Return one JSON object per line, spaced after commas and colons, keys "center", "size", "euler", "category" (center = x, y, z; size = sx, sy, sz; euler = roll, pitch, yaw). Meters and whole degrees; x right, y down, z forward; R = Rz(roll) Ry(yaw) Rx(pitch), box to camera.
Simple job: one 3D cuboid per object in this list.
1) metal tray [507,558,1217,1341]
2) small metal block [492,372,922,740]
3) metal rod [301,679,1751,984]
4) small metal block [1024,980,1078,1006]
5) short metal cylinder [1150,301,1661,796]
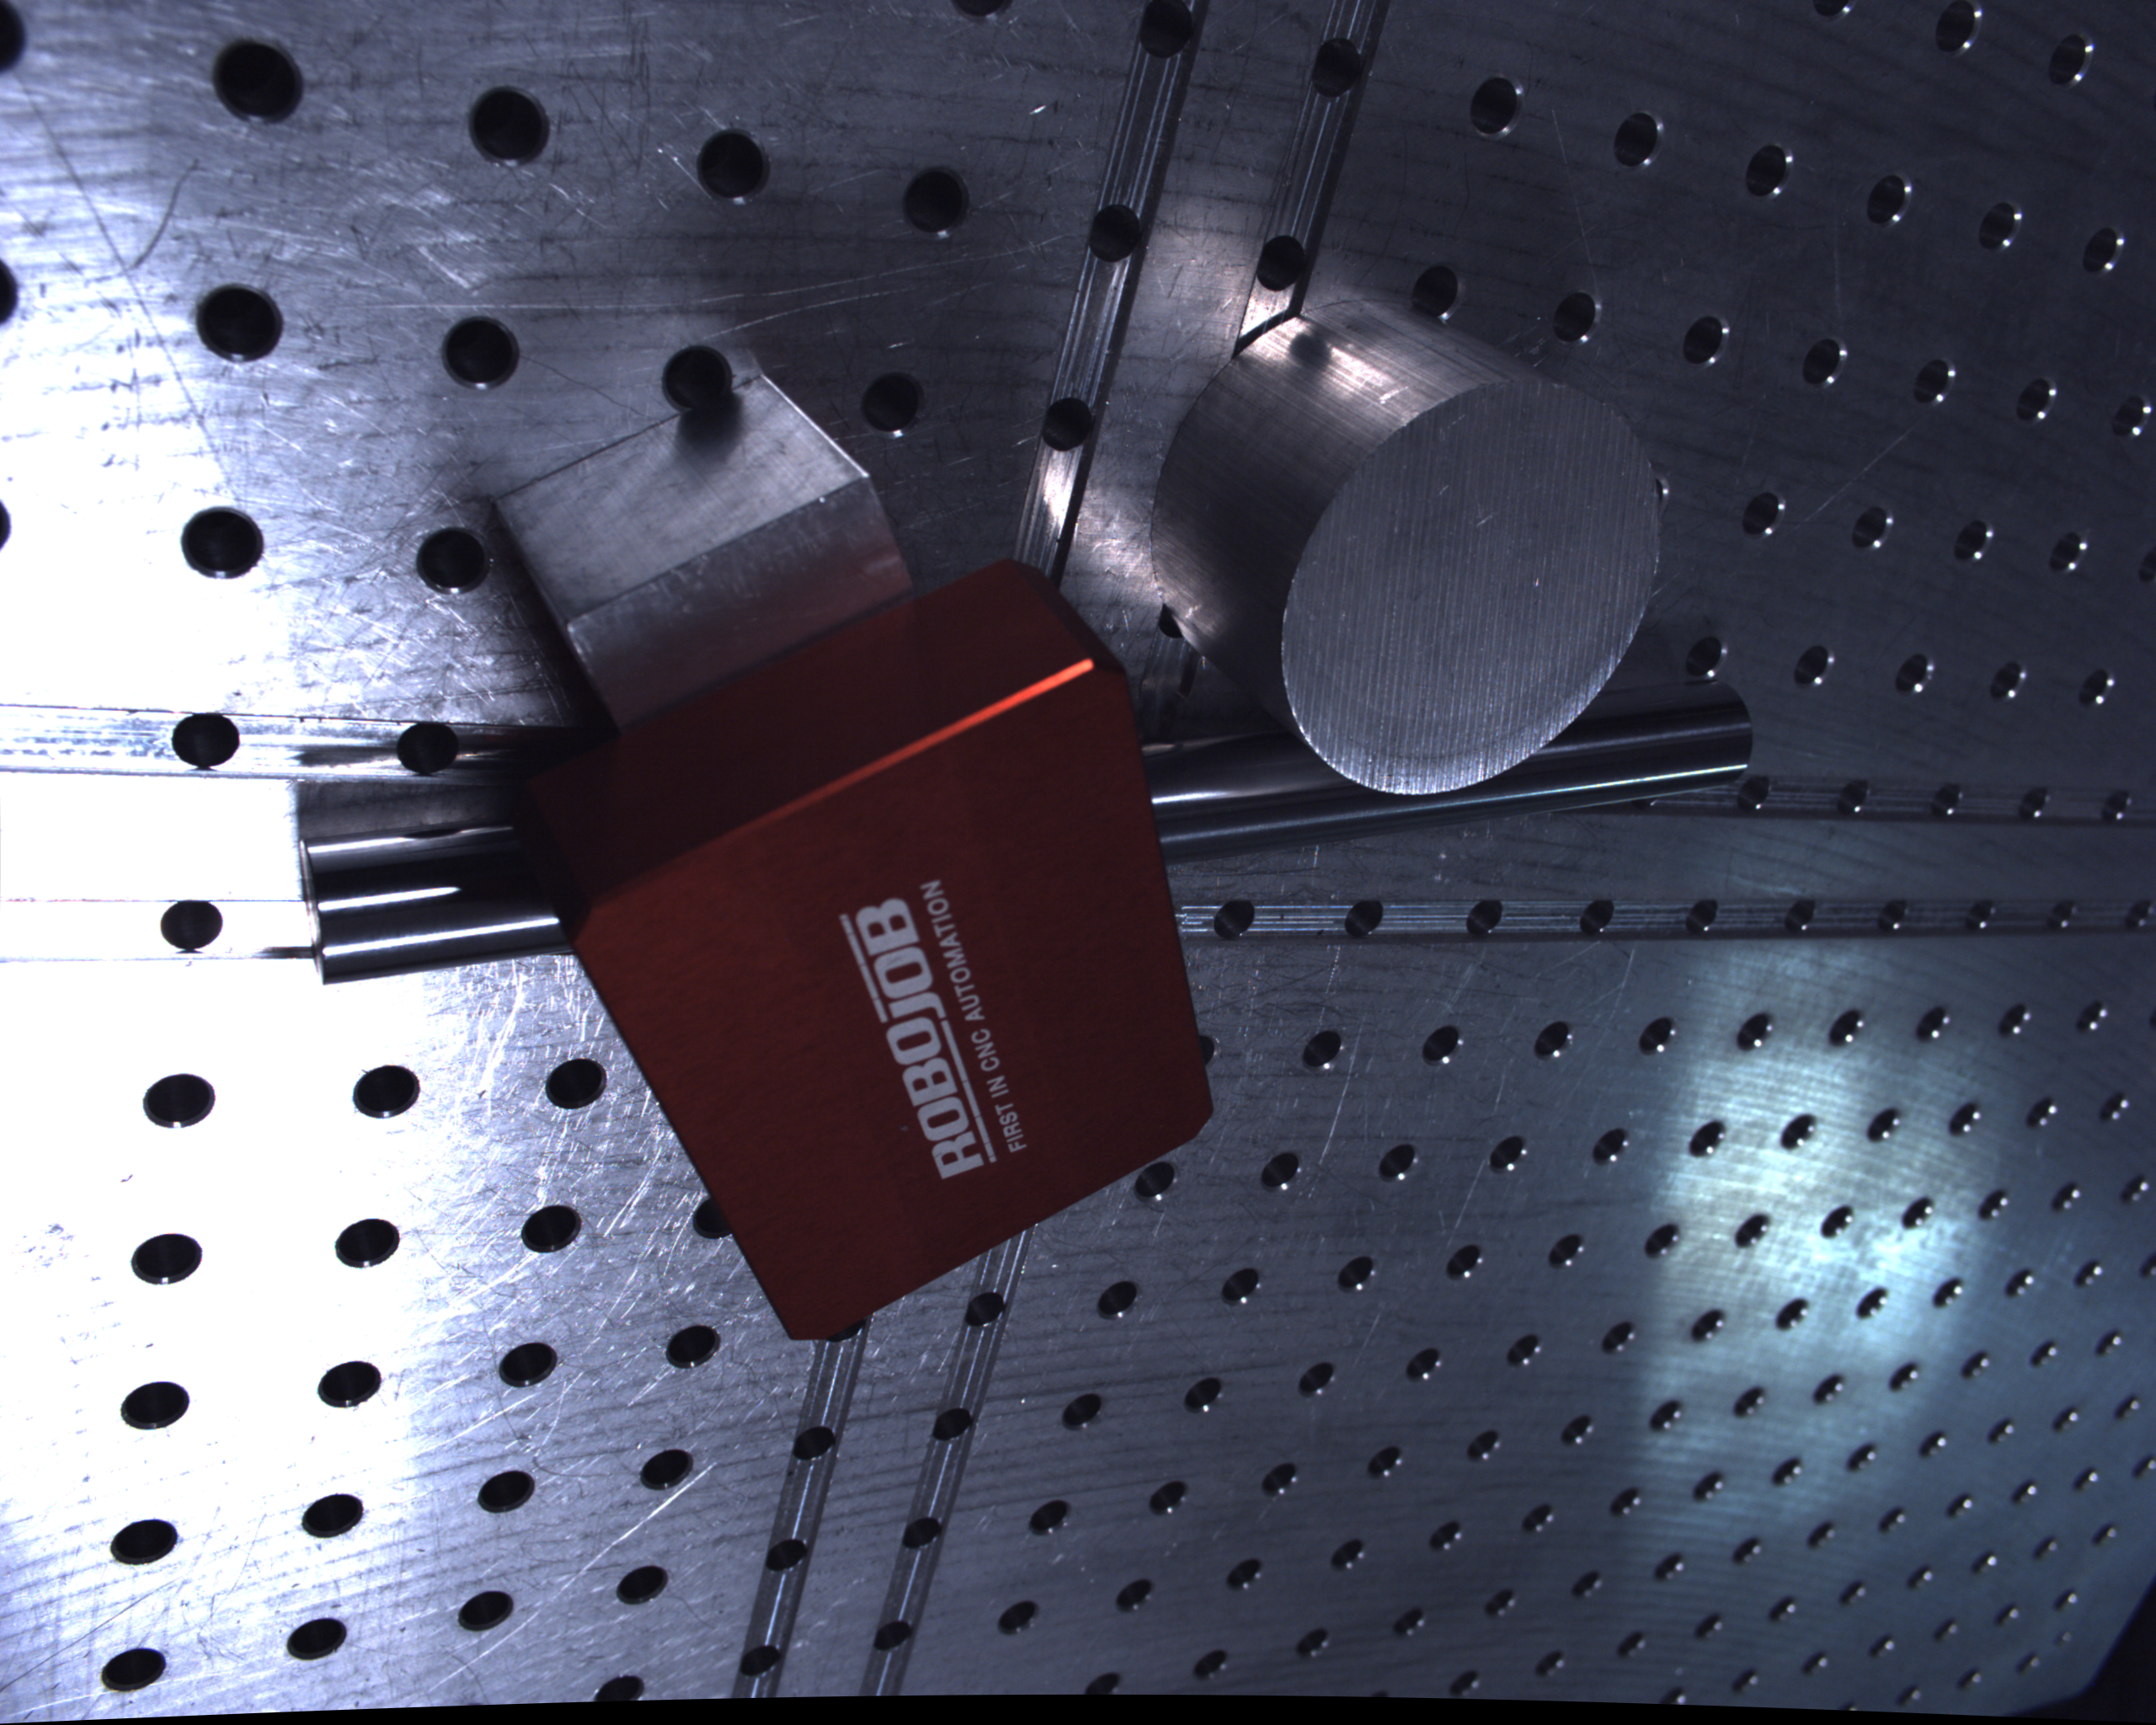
{"center": [-0.029, 0.021, 0.356], "size": [0.091, 0.030, 0.129], "euler": [-27, 139, -11], "category": "metal tray"}
{"center": [-0.060, -0.049, 0.332], "size": [0.050, 0.050, 0.025], "euler": [-28, 128, -11], "category": "small metal block"}
{"center": [0.008, -0.011, 0.411], "size": [0.303, 0.025, 0.025], "euler": [-8, 122, -25], "category": "metal rod"}
{"center": [-0.019, 0.041, 0.426], "size": [0.050, 0.025, 0.050], "euler": [-21, 127, -16], "category": "small metal block"}
{"center": [0.061, -0.059, 0.393], "size": [0.081, 0.050, 0.079], "euler": [-14, 125, -21], "category": "short metal cylinder"}
